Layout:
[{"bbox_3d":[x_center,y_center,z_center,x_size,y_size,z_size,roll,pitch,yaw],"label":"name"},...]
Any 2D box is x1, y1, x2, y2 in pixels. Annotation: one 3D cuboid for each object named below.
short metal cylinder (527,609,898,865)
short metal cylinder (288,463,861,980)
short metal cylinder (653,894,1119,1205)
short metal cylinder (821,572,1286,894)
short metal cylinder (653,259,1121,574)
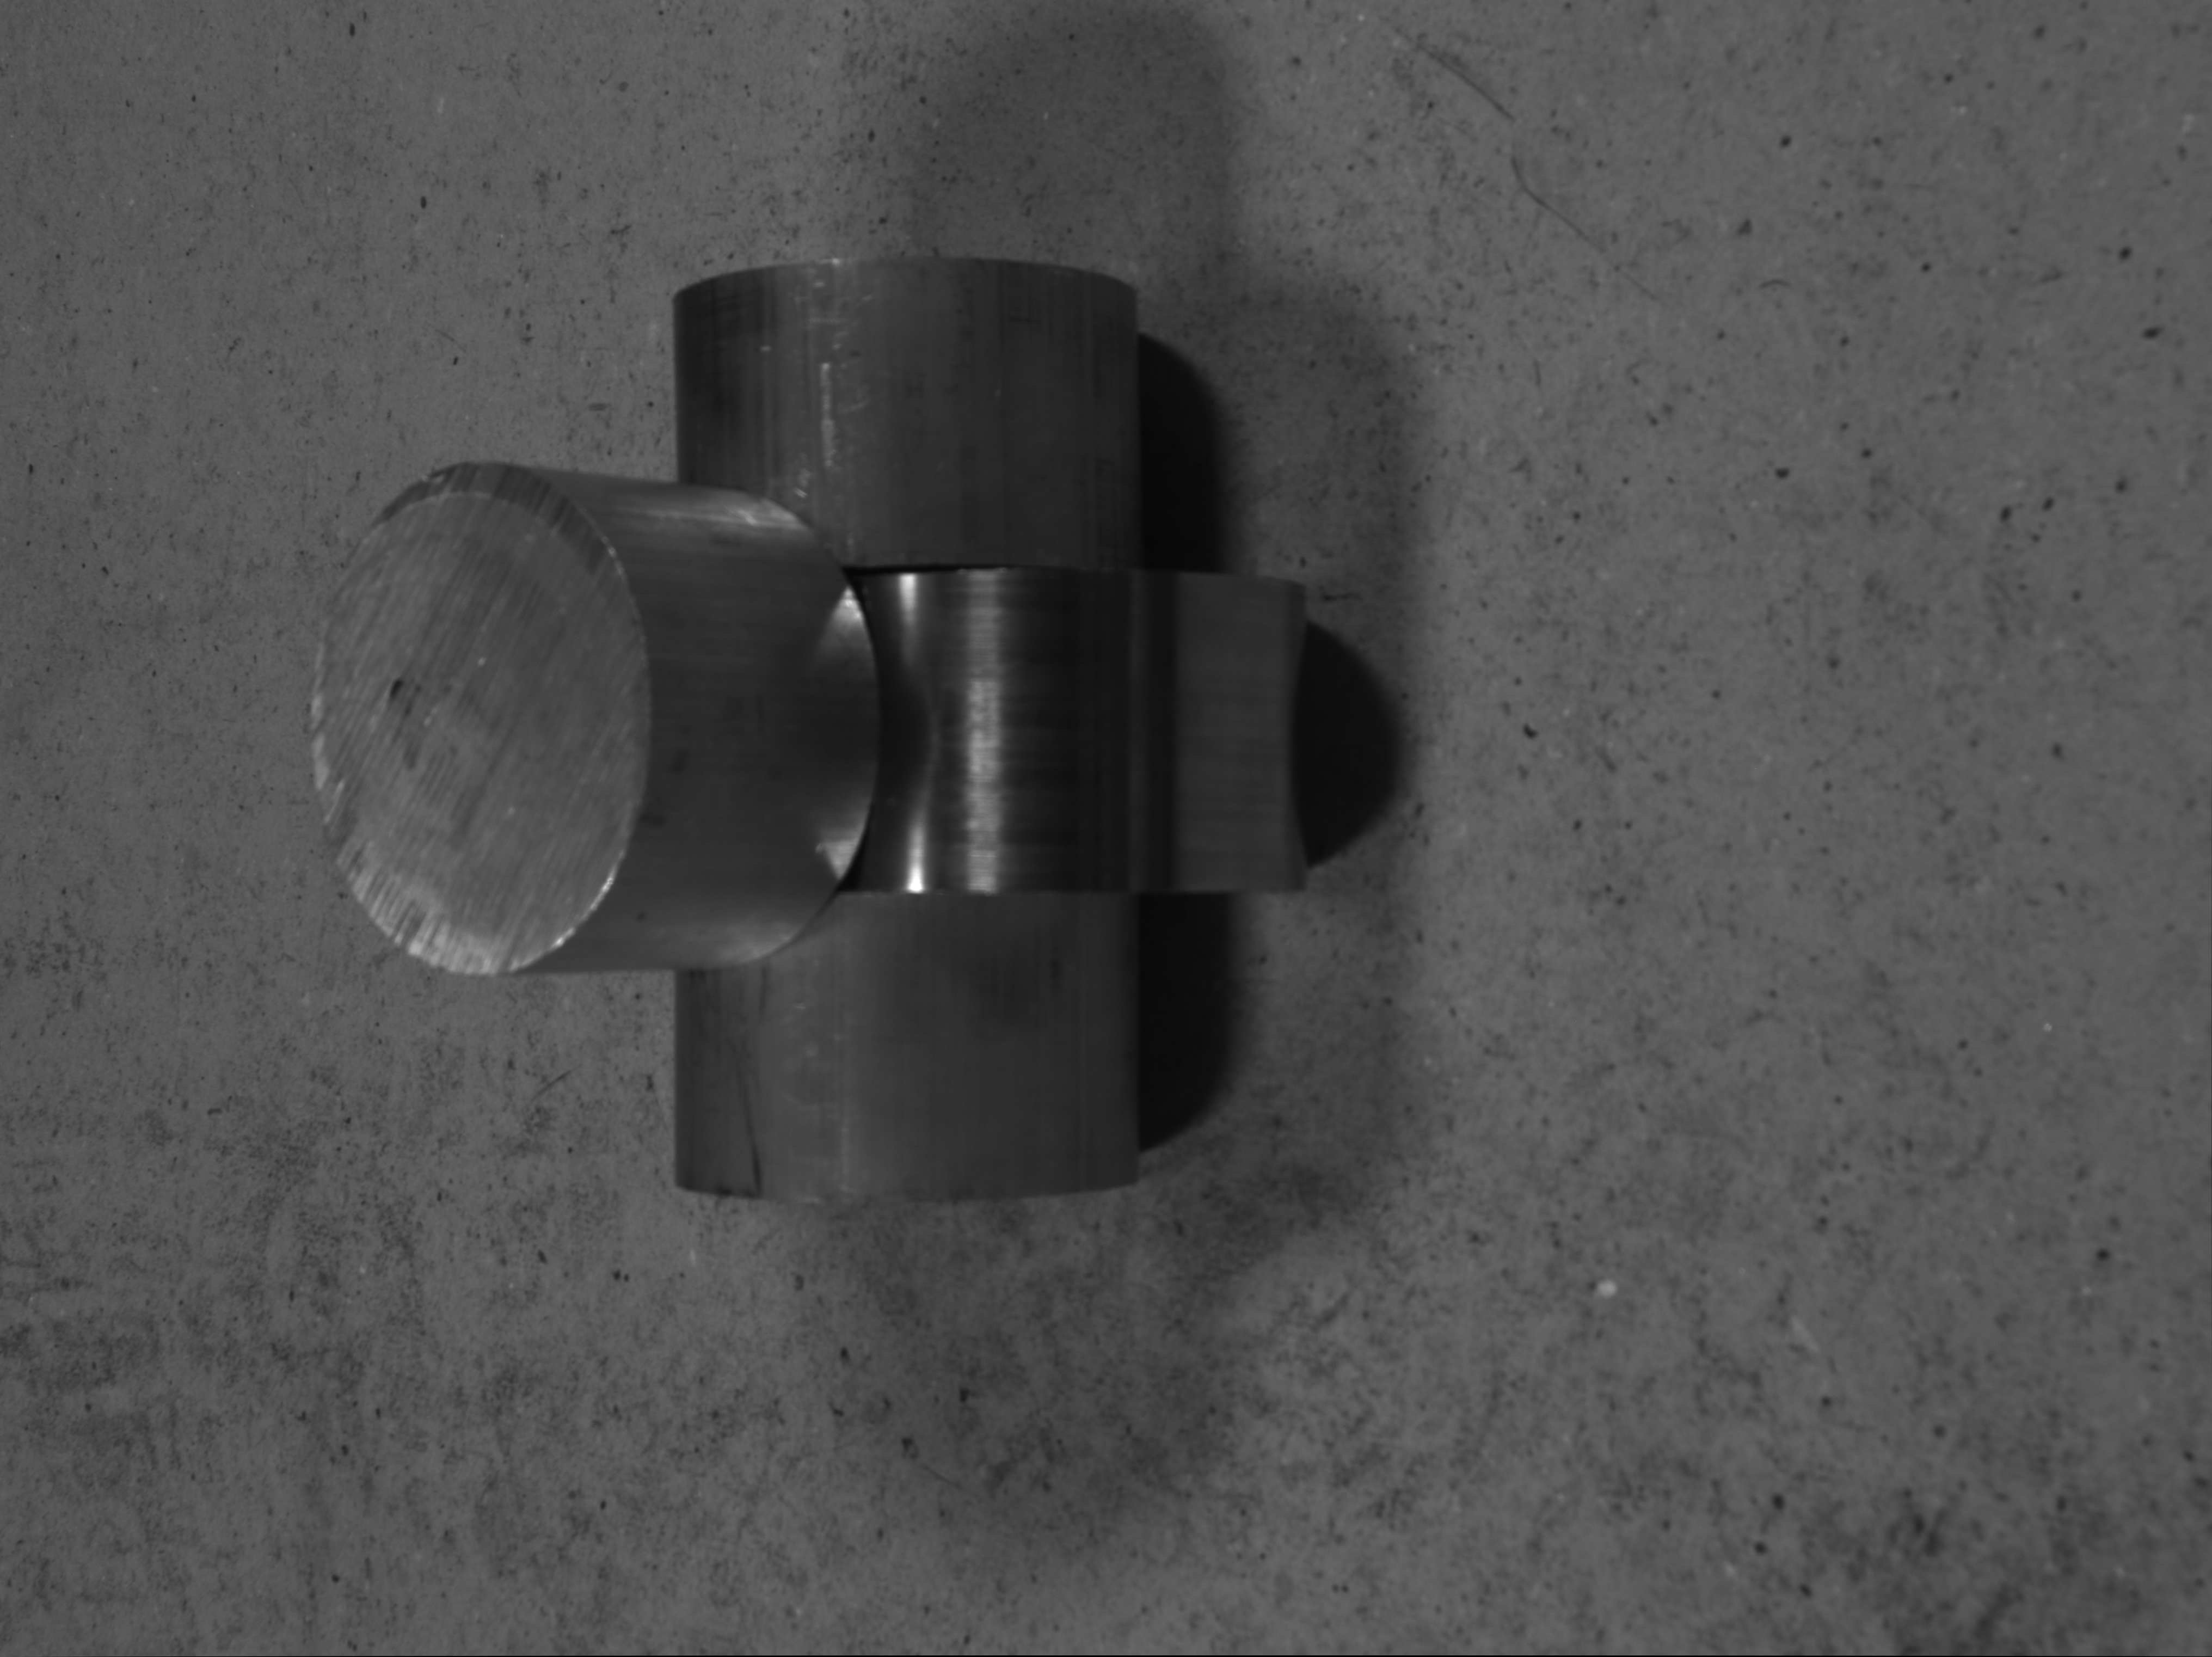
[{"bbox_3d":[-0.072,-0.014,0.660,0.080,0.080,0.050,-2,89,39],"label":"short metal cylinder"},{"bbox_3d":[-0.086,-0.016,0.586,0.080,0.050,0.080,0,90,39],"label":"short metal cylinder"},{"bbox_3d":[-0.038,0.036,0.632,0.080,0.080,0.050,0,90,39],"label":"short metal cylinder"},{"bbox_3d":[-0.010,-0.014,0.609,0.080,0.080,0.050,-1,89,39],"label":"short metal cylinder"},{"bbox_3d":[-0.037,-0.066,0.632,0.080,0.080,0.050,-2,88,39],"label":"short metal cylinder"}]
